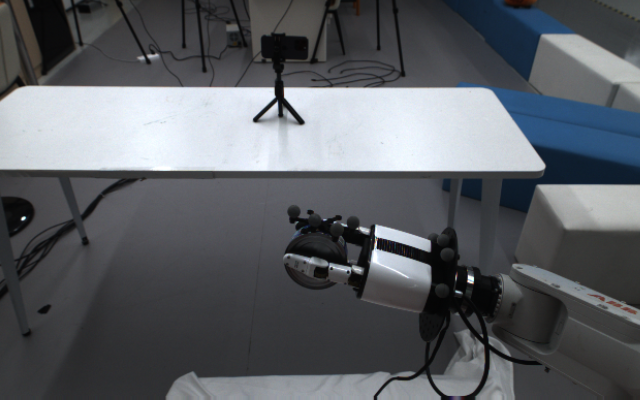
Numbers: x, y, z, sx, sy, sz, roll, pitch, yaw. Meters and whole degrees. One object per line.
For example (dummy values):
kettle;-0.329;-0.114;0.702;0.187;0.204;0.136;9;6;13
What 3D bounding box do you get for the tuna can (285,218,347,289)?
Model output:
tuna can;-0.003;0.076;0.659;0.085;0.085;0.034;5;18;4
